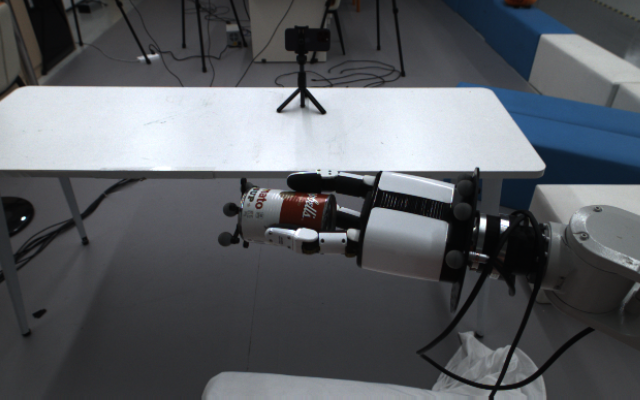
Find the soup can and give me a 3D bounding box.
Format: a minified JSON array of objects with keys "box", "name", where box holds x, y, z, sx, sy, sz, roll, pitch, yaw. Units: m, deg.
[{"box":[-0.034,0.022,0.570,0.101,0.067,0.067,5,35,13],"name":"soup can"}]
